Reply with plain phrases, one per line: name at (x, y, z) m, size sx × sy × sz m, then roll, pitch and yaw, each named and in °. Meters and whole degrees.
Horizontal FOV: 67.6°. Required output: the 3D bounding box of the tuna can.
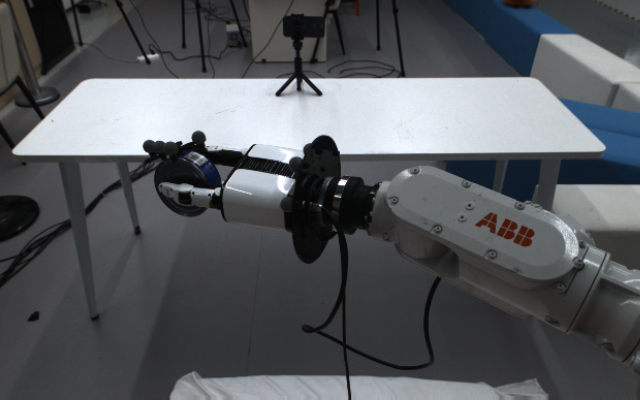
tuna can at (-0.172, -0.020, 0.651) m, size 0.085 × 0.085 × 0.034 m, roll 13°, pitch 28°, yaw 15°
